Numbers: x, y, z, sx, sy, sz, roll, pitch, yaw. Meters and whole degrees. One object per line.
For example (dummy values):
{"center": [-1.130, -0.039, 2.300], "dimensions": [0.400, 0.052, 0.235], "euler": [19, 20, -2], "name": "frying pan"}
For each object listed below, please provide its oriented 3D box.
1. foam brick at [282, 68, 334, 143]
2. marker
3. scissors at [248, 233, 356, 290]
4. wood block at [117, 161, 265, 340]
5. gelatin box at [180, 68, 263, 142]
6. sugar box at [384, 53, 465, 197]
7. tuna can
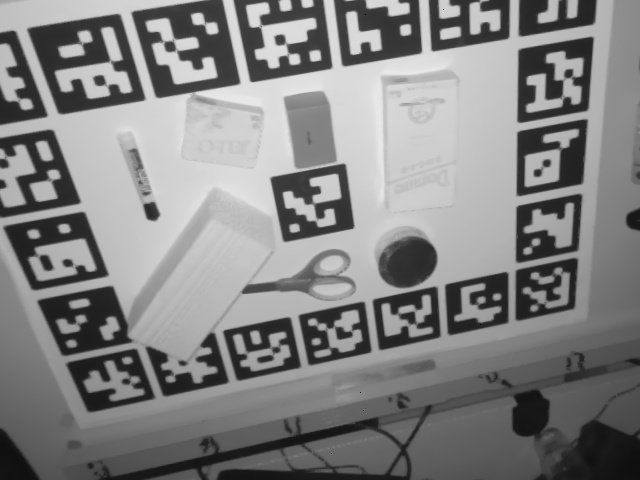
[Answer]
{"center": [-0.014, -0.163, 0.839], "dimensions": [0.053, 0.051, 0.077], "euler": [-8, 117, -5], "name": "foam brick"}
{"center": [-0.223, -0.111, 0.851], "dimensions": [0.020, 0.020, 0.120], "euler": [-8, 116, -5], "name": "marker"}
{"center": [-0.049, 0.035, 0.960], "dimensions": [0.204, 0.016, 0.087], "euler": [-3, 117, -10], "name": "scissors"}
{"center": [-0.167, 0.014, 0.890], "dimensions": [0.090, 0.091, 0.204], "euler": [32, 109, -23], "name": "wood block"}
{"center": [-0.120, -0.162, 0.838], "dimensions": [0.090, 0.030, 0.072], "euler": [8, 115, -14], "name": "gelatin box"}
{"center": [0.130, -0.145, 0.883], "dimensions": [0.093, 0.045, 0.175], "euler": [-5, 117, -6], "name": "sugar box"}
{"center": [0.123, 0.006, 0.961], "dimensions": [0.086, 0.034, 0.085], "euler": [-4, 117, -7], "name": "tuna can"}
